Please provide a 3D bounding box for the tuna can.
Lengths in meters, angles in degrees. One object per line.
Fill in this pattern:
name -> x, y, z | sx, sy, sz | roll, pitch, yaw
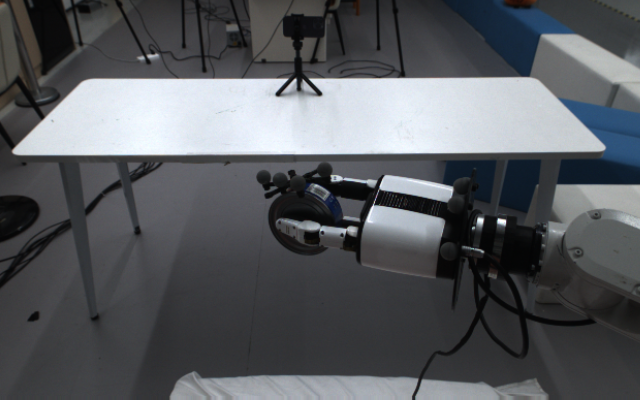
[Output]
tuna can -> -0.014, 0.026, 0.581 | 0.085, 0.085, 0.034 | 13, 29, 15
